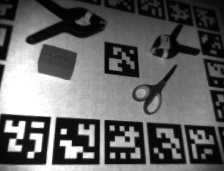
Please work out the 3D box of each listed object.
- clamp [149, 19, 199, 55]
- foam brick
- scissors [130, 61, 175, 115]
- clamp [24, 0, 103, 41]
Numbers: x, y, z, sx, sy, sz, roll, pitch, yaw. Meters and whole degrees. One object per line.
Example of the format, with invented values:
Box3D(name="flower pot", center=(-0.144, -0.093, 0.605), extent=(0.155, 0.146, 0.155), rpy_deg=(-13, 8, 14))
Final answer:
Box3D(name="clamp", center=(0.188, -0.140, 0.677), extent=(0.166, 0.036, 0.121), rpy_deg=(-22, 85, -24))
Box3D(name="foam brick", center=(-0.140, -0.059, 0.526), extent=(0.078, 0.051, 0.052), rpy_deg=(12, 68, -9))
Box3D(name="scissors", center=(0.127, -0.010, 0.610), extent=(0.088, 0.016, 0.204), rpy_deg=(46, 62, -6))
Box3D(name="clamp", center=(-0.125, -0.183, 0.584), extent=(0.204, 0.036, 0.164), rpy_deg=(3, 66, -18))
